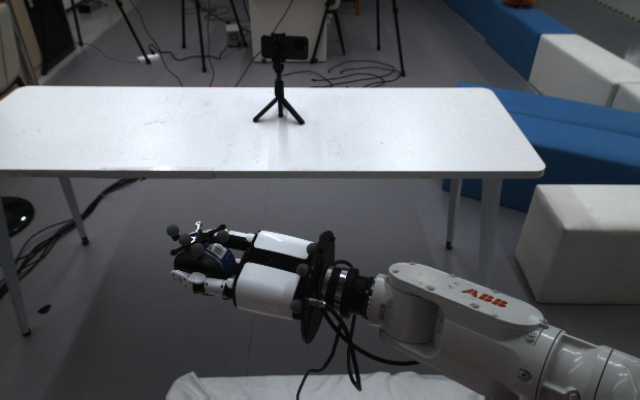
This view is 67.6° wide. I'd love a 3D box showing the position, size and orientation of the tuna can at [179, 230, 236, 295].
[{"bbox_3d":[-0.165,0.097,0.706,0.085,0.085,0.034,11,34,13],"label":"tuna can"}]
